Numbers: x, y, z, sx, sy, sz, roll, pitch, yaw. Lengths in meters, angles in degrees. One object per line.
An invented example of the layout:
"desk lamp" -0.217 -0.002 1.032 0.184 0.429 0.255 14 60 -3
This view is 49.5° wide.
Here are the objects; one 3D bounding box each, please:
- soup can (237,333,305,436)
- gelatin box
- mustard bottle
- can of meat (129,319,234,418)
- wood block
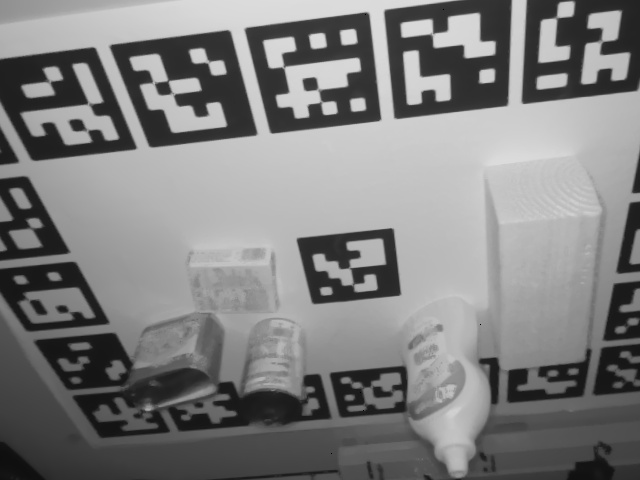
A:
"soup can" -0.052 0.161 0.768 0.068 0.103 0.067 0 127 1
"gelatin box" -0.088 0.048 0.730 0.090 0.030 0.072 1 127 -3
"mustard bottle" 0.139 0.157 0.724 0.095 0.193 0.058 -26 124 22
"can of meat" -0.151 0.142 0.776 0.101 0.084 0.058 -16 126 16
"wood block" 0.222 0.037 0.688 0.091 0.091 0.205 -4 132 6
